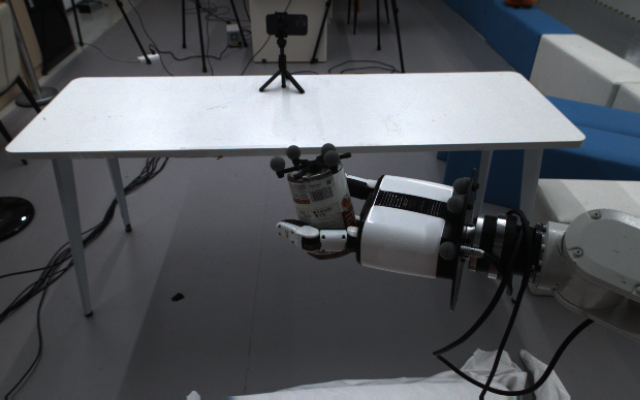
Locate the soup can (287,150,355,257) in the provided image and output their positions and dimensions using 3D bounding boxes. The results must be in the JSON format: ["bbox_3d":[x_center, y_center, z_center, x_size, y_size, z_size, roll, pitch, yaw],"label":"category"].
[{"bbox_3d":[0.008,0.010,0.570,0.067,0.101,0.067,-13,20,5],"label":"soup can"}]
